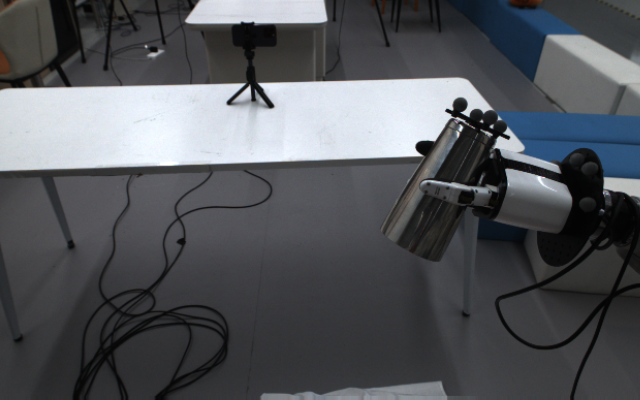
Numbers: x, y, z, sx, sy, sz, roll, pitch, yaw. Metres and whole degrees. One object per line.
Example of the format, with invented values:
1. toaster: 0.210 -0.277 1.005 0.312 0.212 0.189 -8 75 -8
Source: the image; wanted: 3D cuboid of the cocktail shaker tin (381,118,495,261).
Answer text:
1. cocktail shaker tin: 0.161 -0.019 0.635 0.093 0.170 0.093 24 13 -6
